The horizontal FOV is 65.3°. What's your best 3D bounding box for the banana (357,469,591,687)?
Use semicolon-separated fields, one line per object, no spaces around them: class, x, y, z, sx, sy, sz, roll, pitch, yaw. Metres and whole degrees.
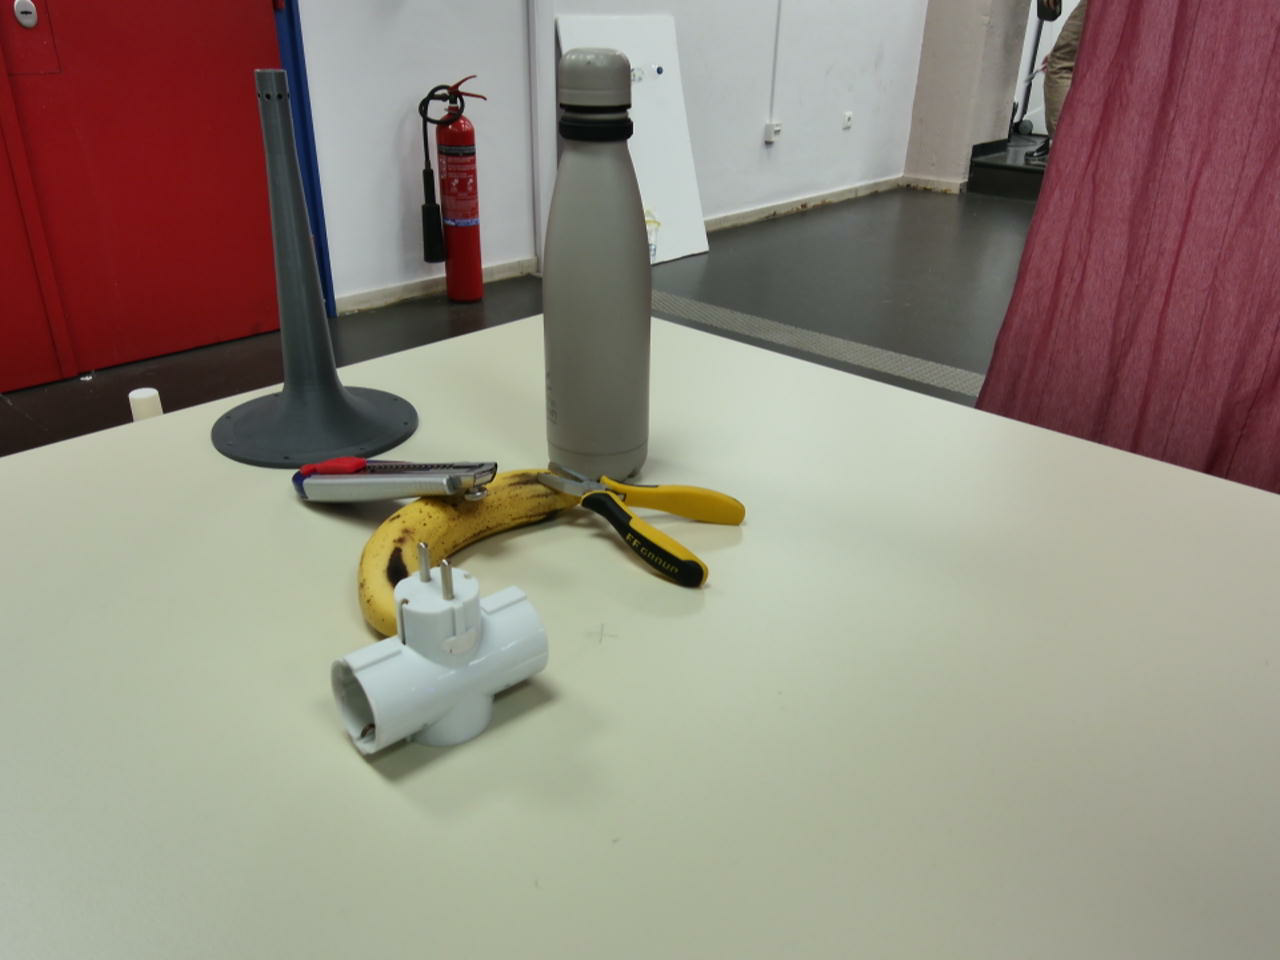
banana;-0.098;0.038;0.570;0.097;0.038;0.186;7;26;12
